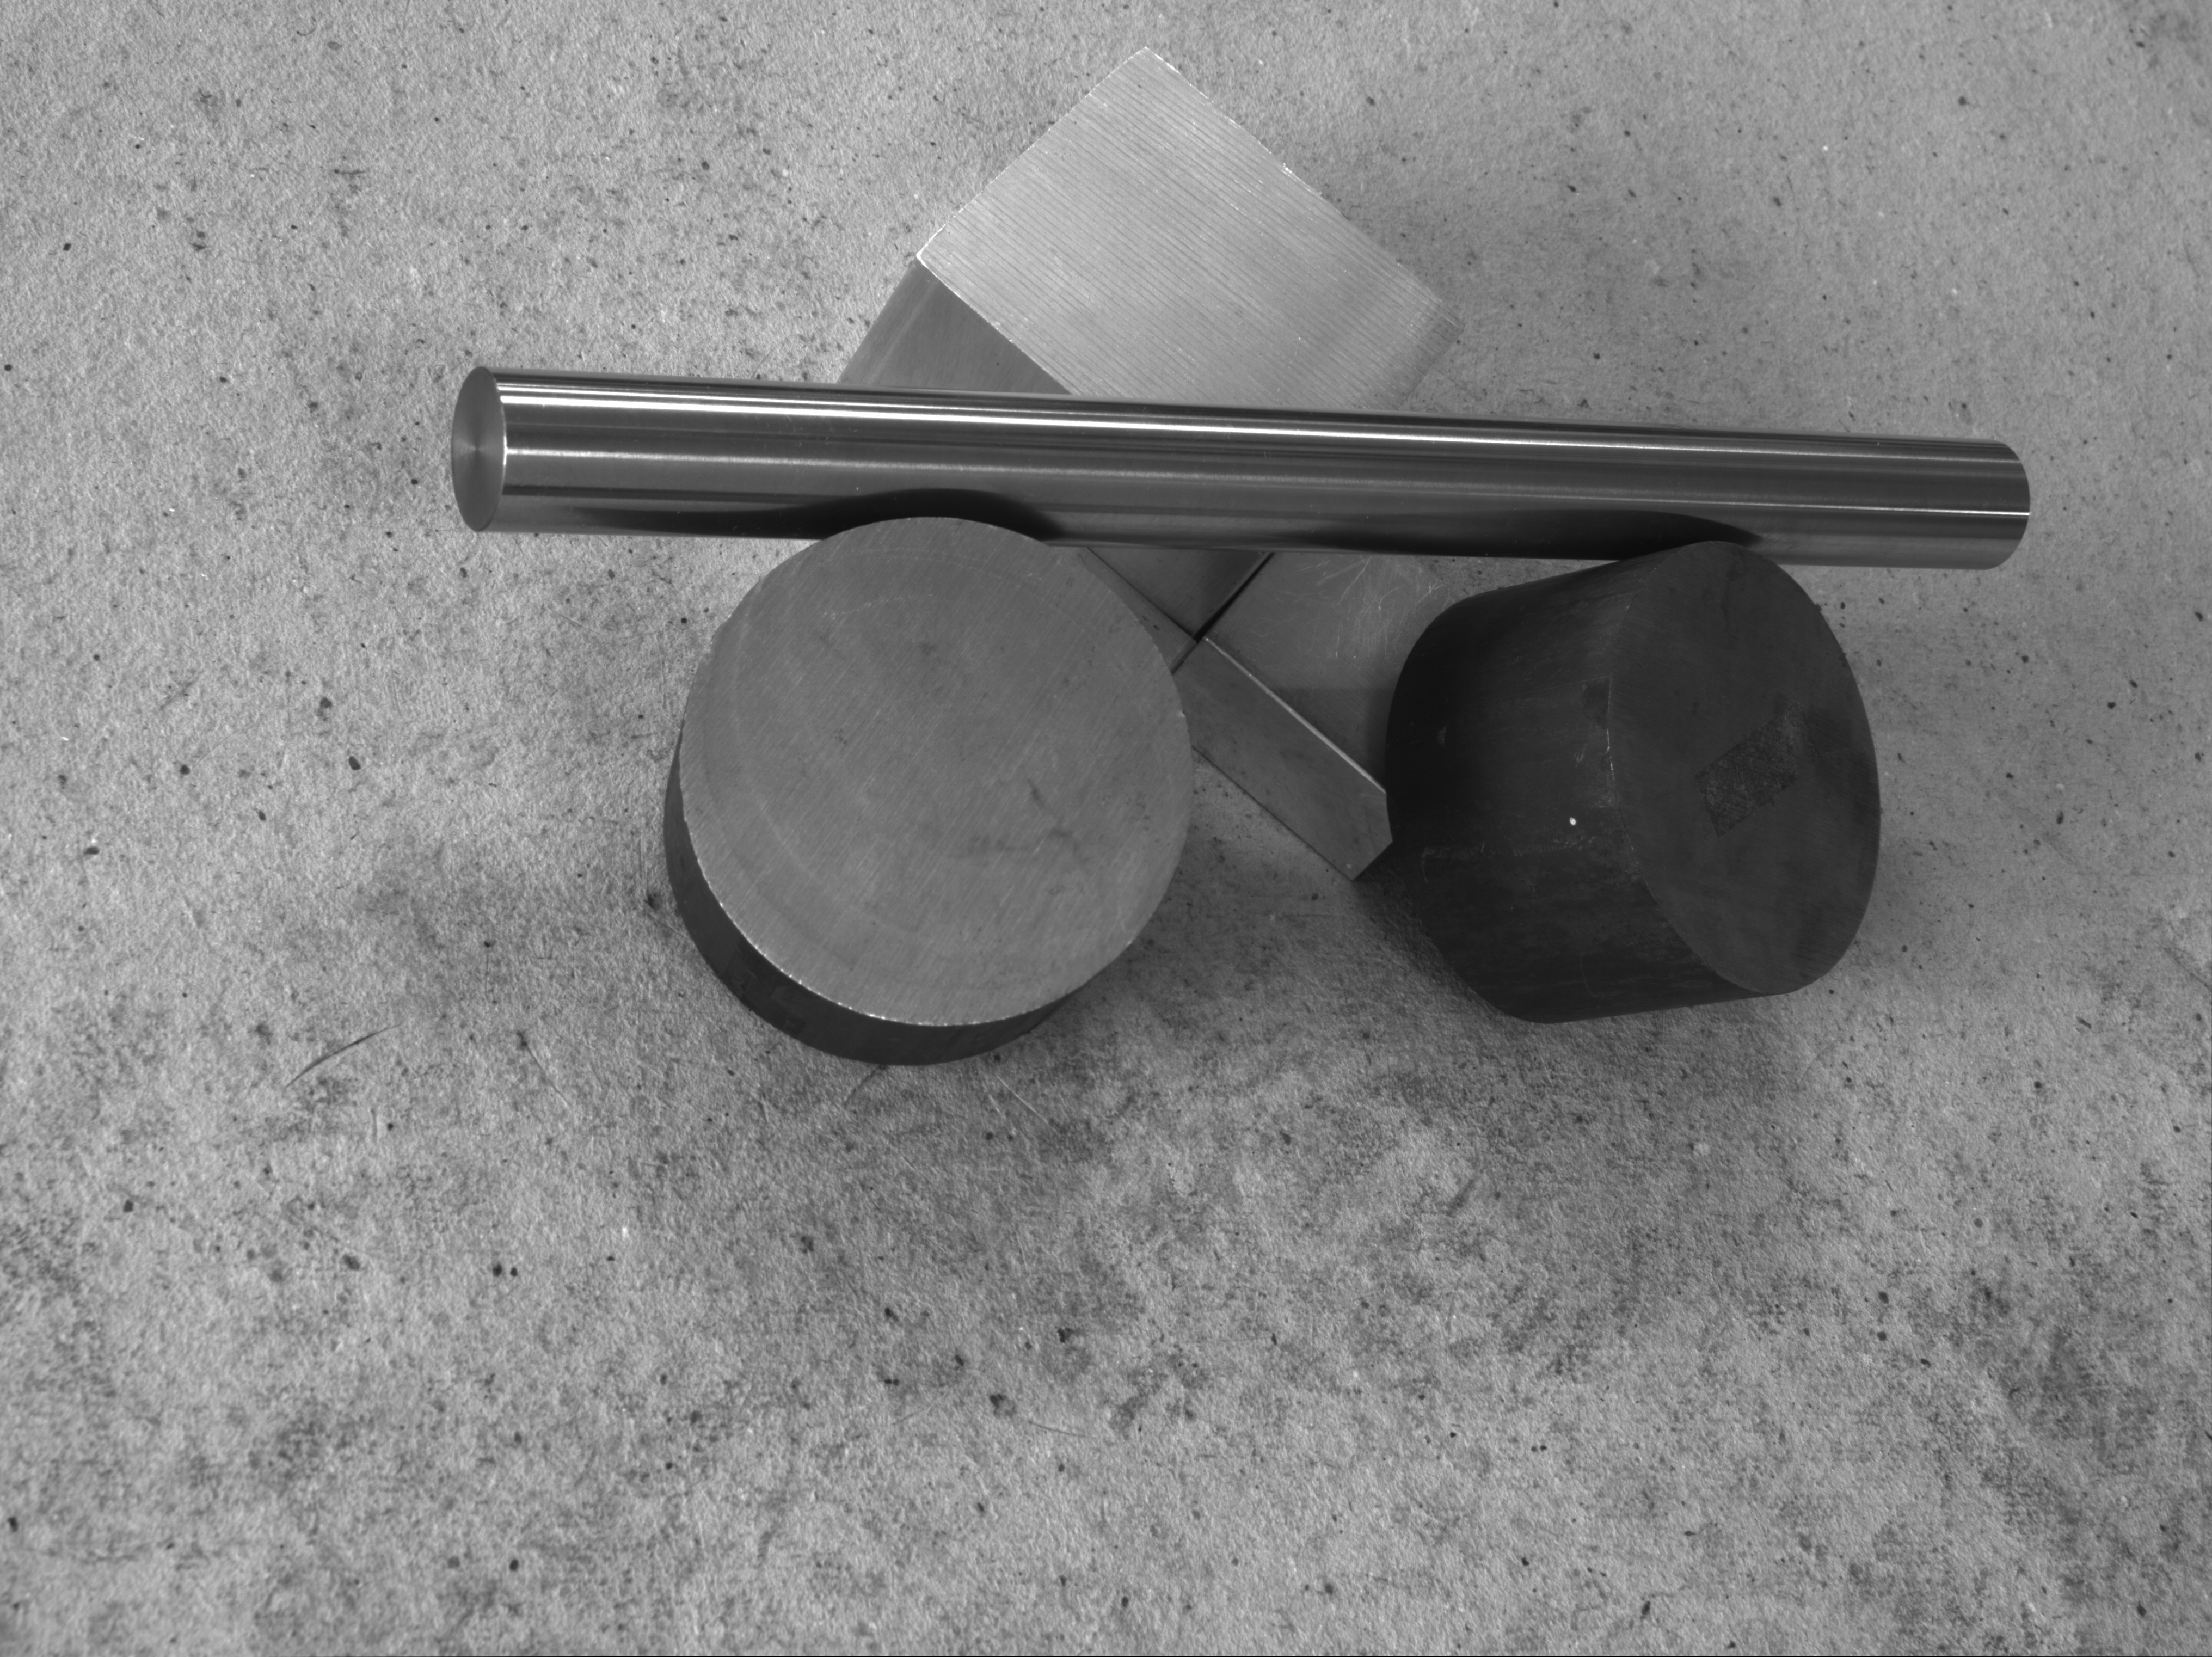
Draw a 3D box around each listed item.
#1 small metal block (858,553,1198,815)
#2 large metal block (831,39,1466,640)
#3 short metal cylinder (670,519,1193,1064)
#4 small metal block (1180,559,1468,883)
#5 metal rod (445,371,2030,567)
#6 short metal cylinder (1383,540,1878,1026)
[{"bbox_3d":[-0.020,-0.029,0.647,0.050,0.025,0.050,40,50,-1],"label":"small metal block"},{"bbox_3d":[0.006,-0.085,0.676,0.080,0.050,0.080,41,51,0],"label":"large metal block"},{"bbox_3d":[-0.030,-0.004,0.592,0.080,0.050,0.080,2,79,-9],"label":"short metal cylinder"},{"bbox_3d":[0.044,-0.027,0.679,0.050,0.025,0.050,40,51,-1],"label":"small metal block"},{"bbox_3d":[0.036,-0.060,0.629,0.301,0.025,0.025,-1,62,-29],"label":"metal rod"},{"bbox_3d":[0.095,-0.007,0.661,0.080,0.050,0.080,13,72,-43],"label":"short metal cylinder"}]
